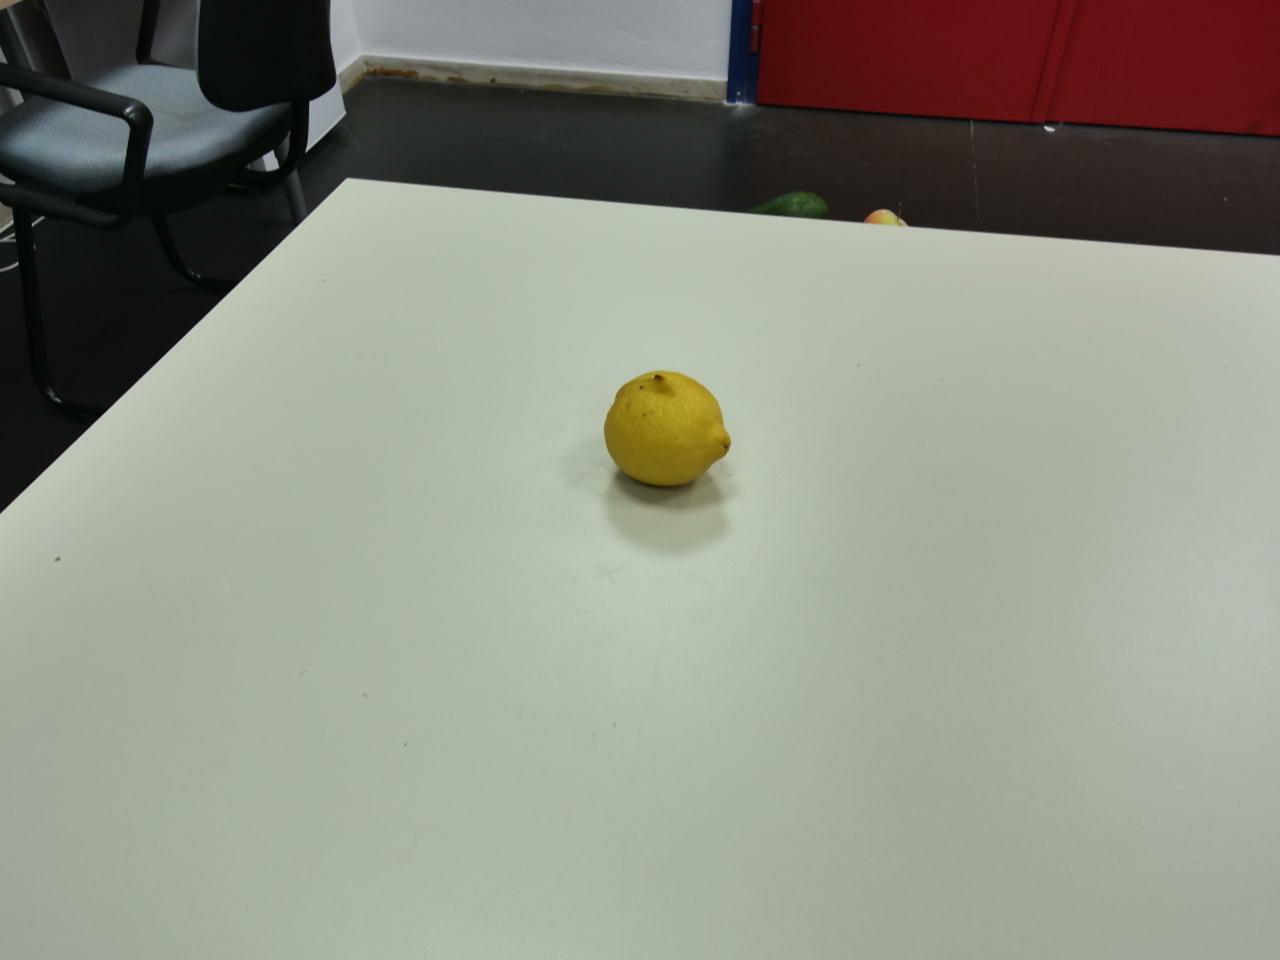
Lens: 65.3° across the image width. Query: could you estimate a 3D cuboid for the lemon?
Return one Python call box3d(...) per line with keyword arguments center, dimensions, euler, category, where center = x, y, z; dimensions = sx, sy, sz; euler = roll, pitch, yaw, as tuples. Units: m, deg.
box3d(center=(0.014, -0.033, 0.596), dimensions=(0.070, 0.071, 0.071), euler=(-14, 41, -16), category="lemon")
